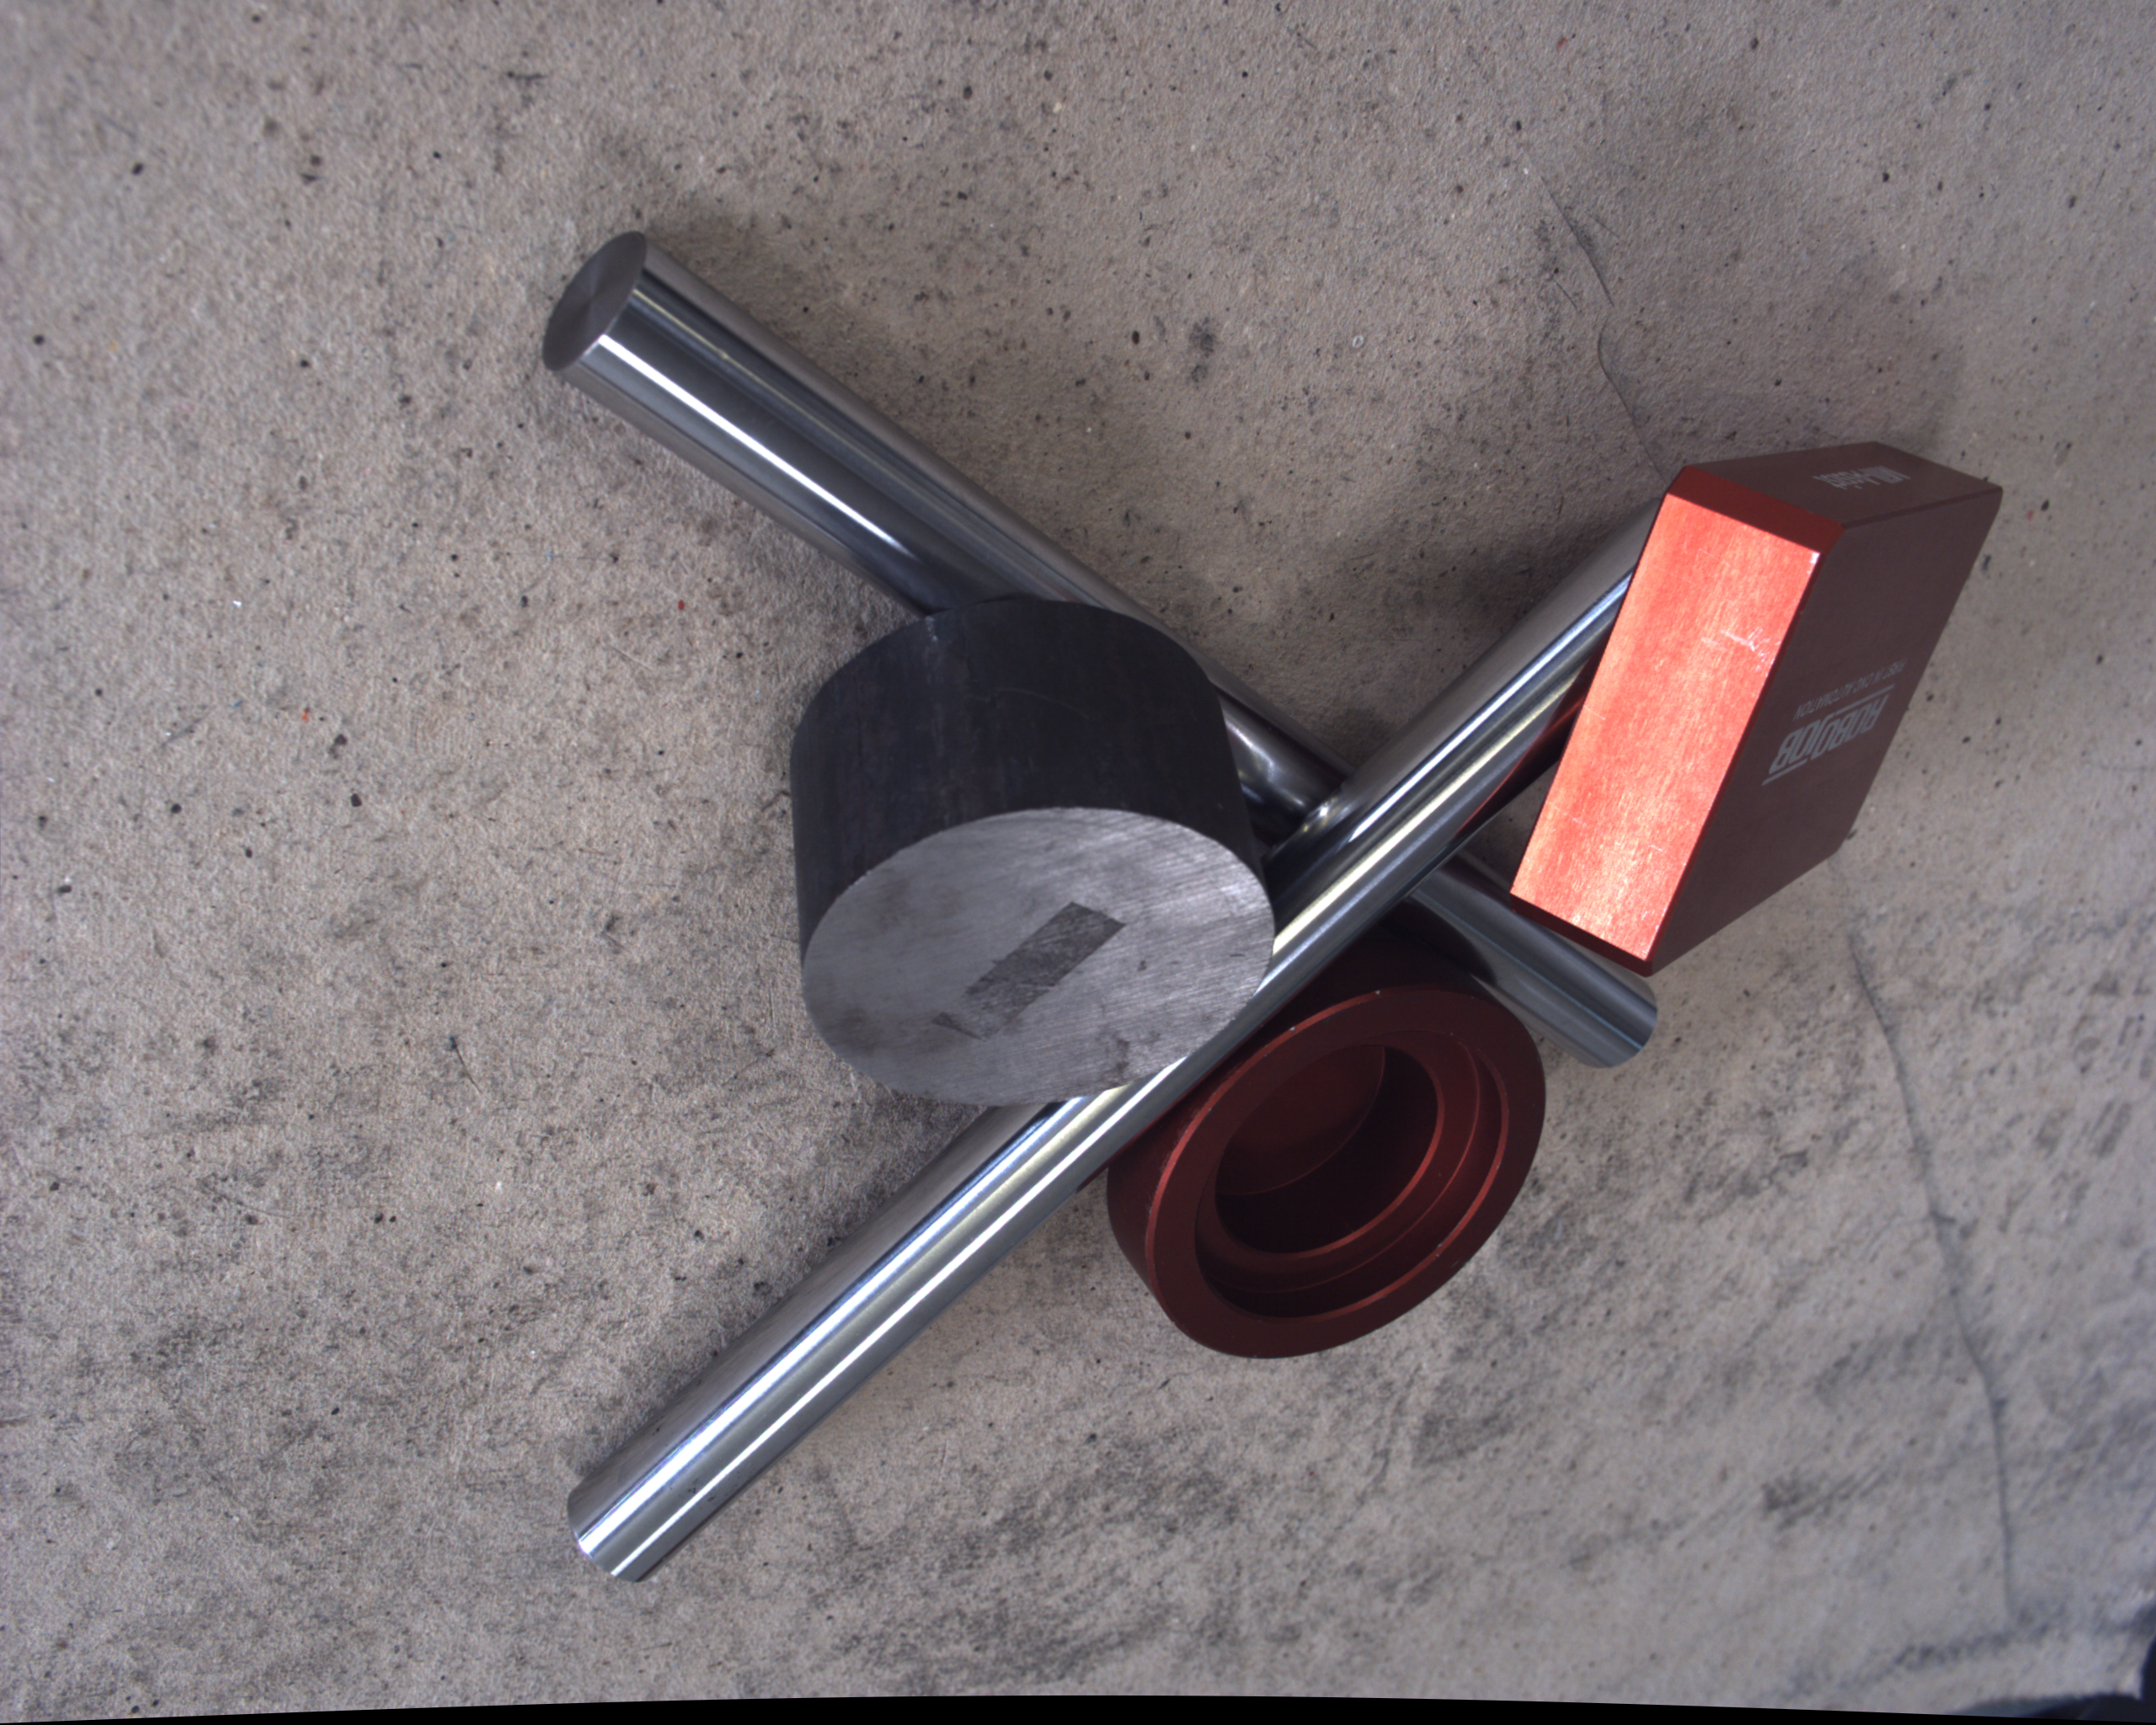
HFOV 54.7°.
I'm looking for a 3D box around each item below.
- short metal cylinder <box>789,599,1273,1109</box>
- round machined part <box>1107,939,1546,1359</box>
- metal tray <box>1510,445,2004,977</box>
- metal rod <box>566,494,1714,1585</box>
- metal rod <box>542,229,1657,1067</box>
[{"bbox_3d":[-0.010,0.000,0.370,0.081,0.050,0.080,-6,138,-5],"label":"short metal cylinder"},{"bbox_3d":[0.050,0.058,0.461,0.099,0.042,0.097,-14,124,-21],"label":"round machined part"},{"bbox_3d":[0.141,-0.036,0.423,0.131,0.030,0.089,-19,132,-53],"label":"metal tray"},{"bbox_3d":[0.008,0.041,0.416,0.300,0.025,0.025,-43,130,10],"label":"metal rod"},{"bbox_3d":[0.027,-0.024,0.410,0.301,0.025,0.025,31,101,-38],"label":"metal rod"}]
